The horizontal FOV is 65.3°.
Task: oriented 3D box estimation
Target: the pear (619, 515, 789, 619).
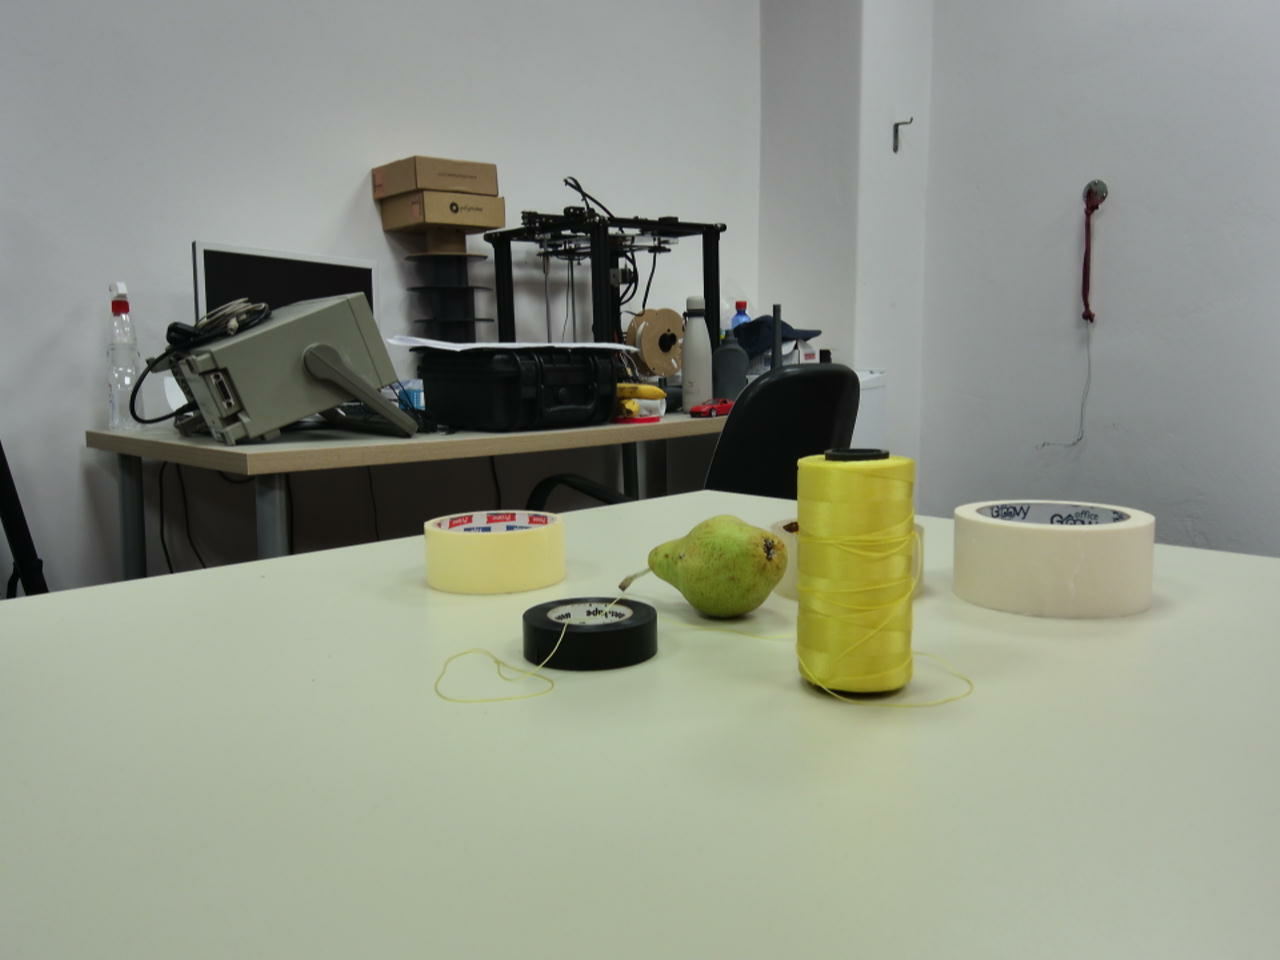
[{"bbox_3d":[0.037,0.047,0.575,0.056,0.056,0.111,-2,6,-27],"label":"pear"}]
